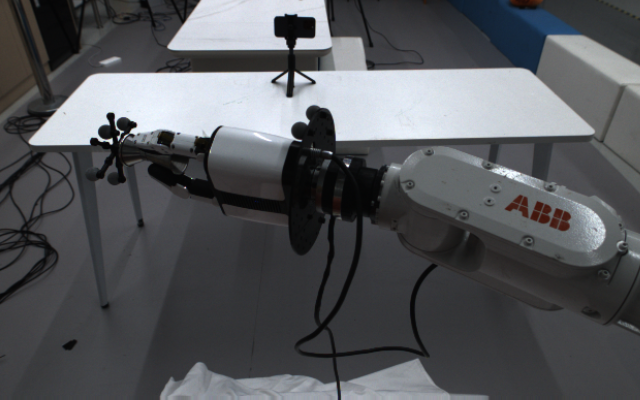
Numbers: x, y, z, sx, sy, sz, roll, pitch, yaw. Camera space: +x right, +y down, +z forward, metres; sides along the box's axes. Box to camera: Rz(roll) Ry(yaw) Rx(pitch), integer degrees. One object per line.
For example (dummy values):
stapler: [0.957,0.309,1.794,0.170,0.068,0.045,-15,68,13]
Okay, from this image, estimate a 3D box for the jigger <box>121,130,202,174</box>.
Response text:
jigger: [-0.192,-0.059,0.570,0.071,0.043,0.043,7,35,13]
